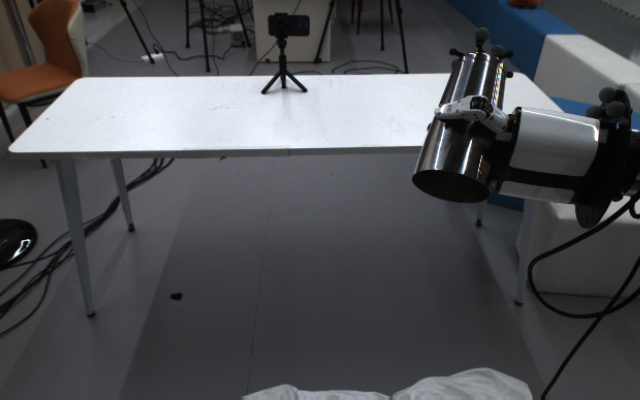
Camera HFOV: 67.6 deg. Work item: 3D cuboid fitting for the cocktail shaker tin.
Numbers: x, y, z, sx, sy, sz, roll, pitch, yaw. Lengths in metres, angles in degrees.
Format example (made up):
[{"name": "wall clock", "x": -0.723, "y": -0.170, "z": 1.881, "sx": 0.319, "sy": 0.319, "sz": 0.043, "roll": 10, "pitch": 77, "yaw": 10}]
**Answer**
[{"name": "cocktail shaker tin", "x": 0.181, "y": -0.091, "z": 0.596, "sx": 0.093, "sy": 0.093, "sz": 0.170, "roll": 13, "pitch": 73, "yaw": 16}]
